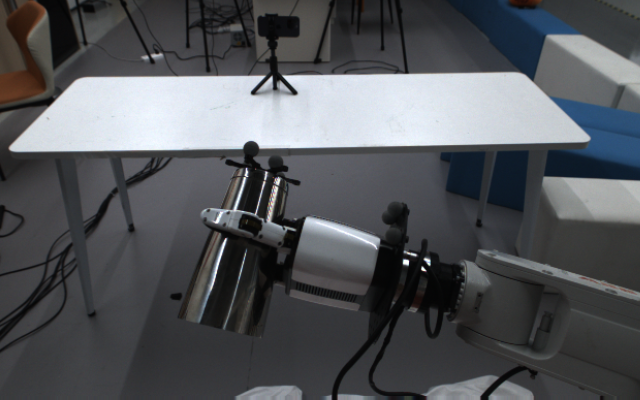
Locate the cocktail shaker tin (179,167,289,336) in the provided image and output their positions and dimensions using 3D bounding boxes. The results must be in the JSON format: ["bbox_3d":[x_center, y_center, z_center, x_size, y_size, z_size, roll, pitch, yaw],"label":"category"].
[{"bbox_3d":[-0.086,0.057,0.531,0.093,0.093,0.170,11,74,12],"label":"cocktail shaker tin"}]
